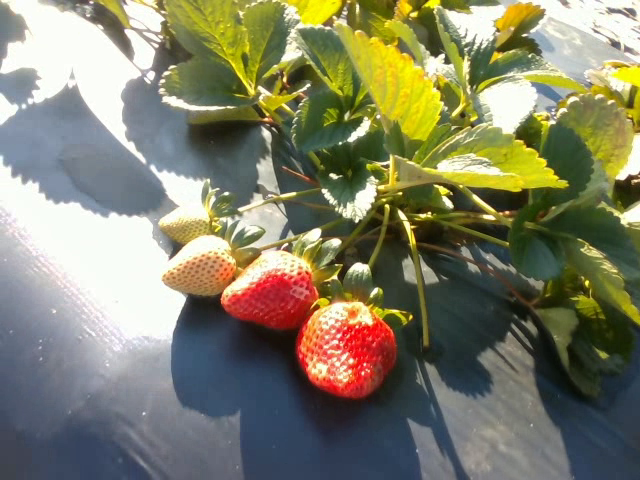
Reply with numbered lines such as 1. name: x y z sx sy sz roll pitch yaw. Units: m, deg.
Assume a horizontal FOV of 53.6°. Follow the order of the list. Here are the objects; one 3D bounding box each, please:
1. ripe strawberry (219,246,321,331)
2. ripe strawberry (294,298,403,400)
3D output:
1. ripe strawberry: -0.026 0.025 0.311 0.061 0.051 0.043 -12 -20 -40
2. ripe strawberry: 0.013 0.056 0.291 0.056 0.052 0.067 -10 21 7
